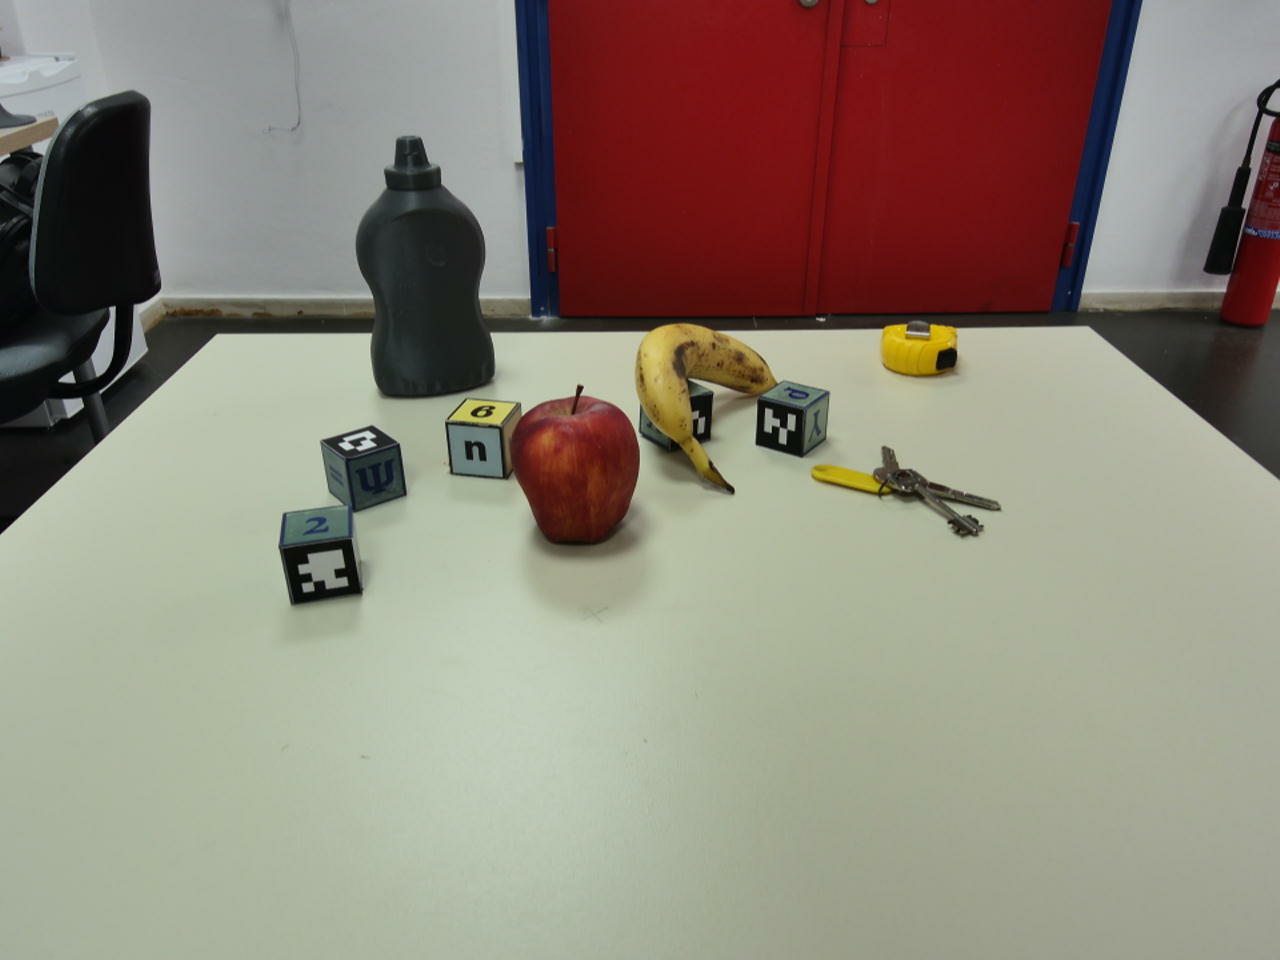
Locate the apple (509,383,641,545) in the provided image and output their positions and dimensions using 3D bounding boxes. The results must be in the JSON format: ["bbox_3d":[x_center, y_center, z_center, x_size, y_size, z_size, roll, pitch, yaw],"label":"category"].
[{"bbox_3d":[-0.039,-0.012,0.583,0.083,0.090,0.083,-1,26,1],"label":"apple"}]
